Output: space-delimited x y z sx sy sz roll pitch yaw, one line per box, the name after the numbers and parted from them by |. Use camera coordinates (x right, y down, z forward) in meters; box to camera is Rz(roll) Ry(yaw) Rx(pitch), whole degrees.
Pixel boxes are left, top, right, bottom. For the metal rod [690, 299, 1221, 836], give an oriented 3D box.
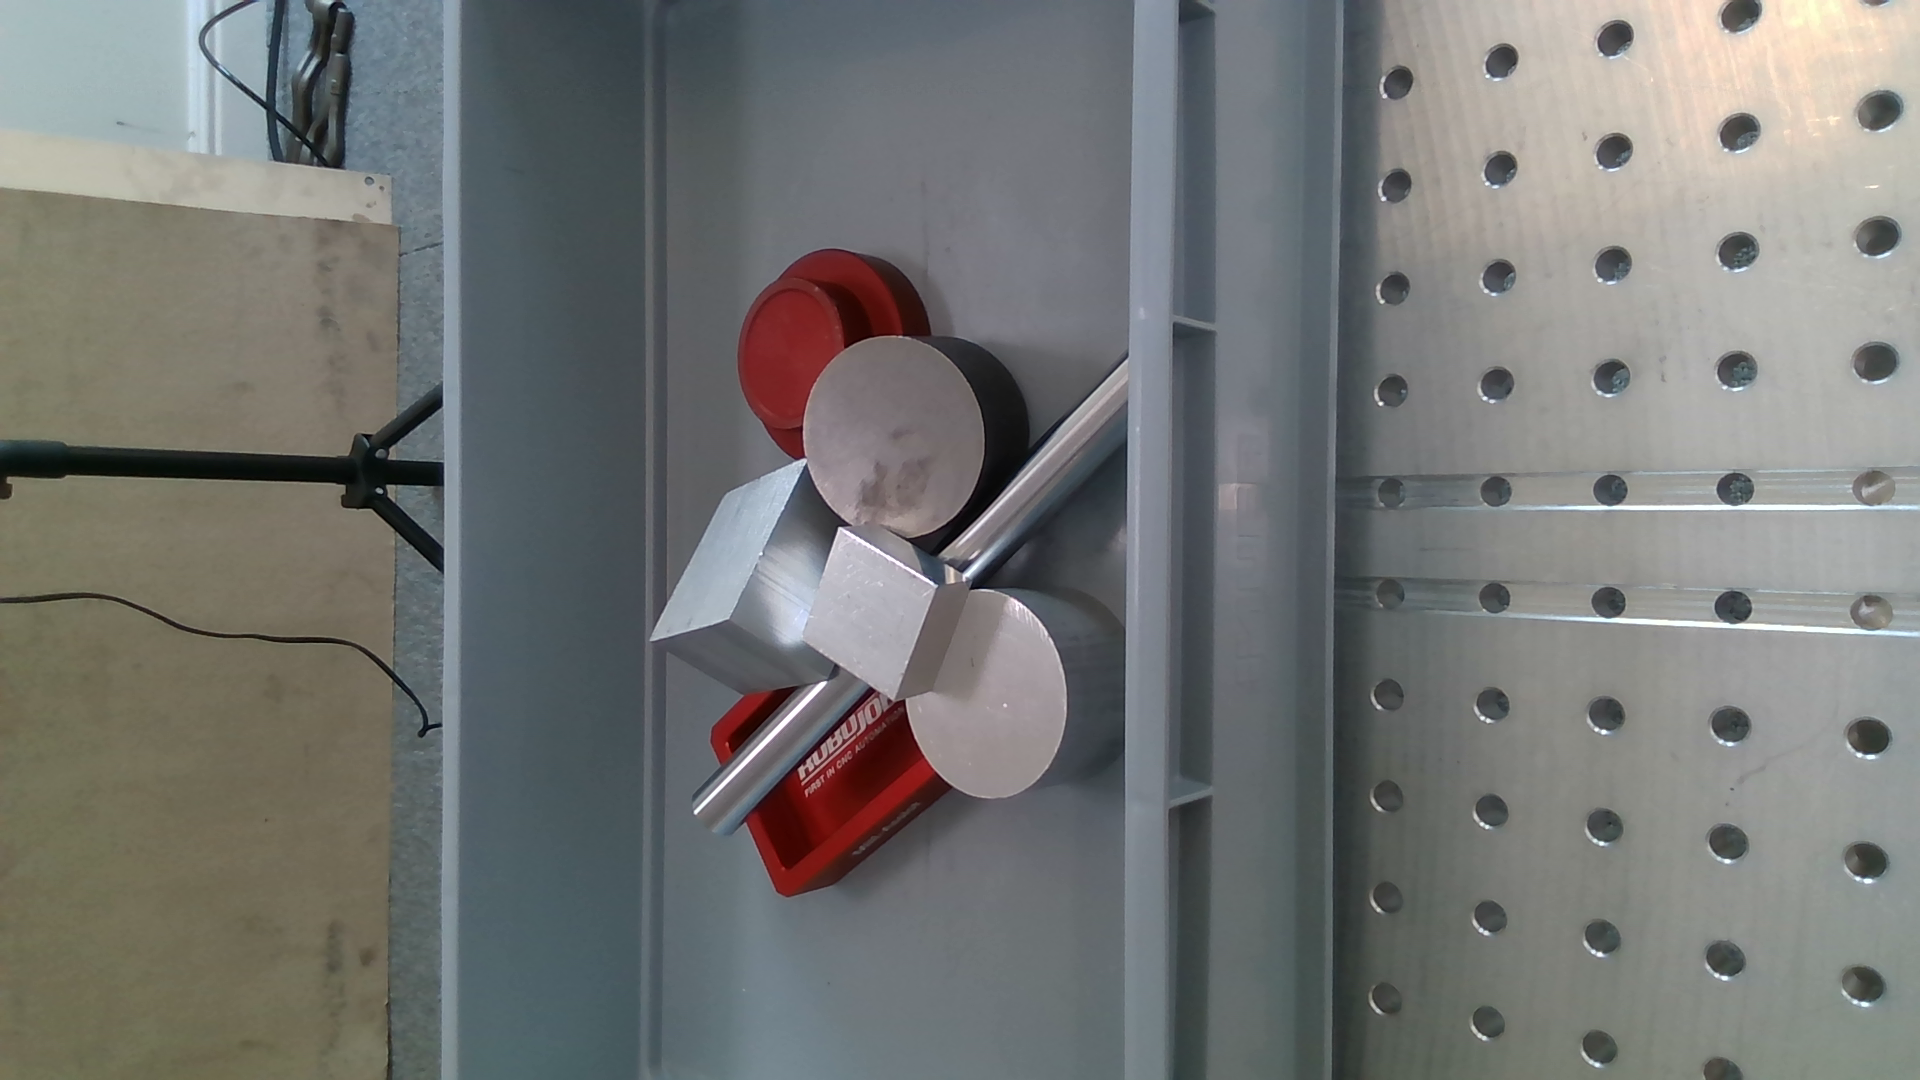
-0.011 0.020 0.558 0.300 0.025 0.025 -46 62 21 | metal rod

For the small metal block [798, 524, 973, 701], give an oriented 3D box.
-0.029 0.027 0.537 0.050 0.025 0.050 30 109 28 | small metal block

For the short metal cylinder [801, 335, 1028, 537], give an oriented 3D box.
-0.018 -0.044 0.565 0.080 0.050 0.080 4 100 23 | short metal cylinder

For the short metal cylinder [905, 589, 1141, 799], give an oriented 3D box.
0.024 0.059 0.545 0.080 0.050 0.080 0 91 40 | short metal cylinder

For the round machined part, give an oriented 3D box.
-0.064 -0.083 0.622 0.098 0.042 0.098 0 91 40 | round machined part

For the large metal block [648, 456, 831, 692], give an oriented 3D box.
-0.082 0.017 0.600 0.080 0.050 0.080 -16 45 53 | large metal block

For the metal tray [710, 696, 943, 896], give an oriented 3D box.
-0.053 0.091 0.623 0.130 0.030 0.090 -44 64 32 | metal tray
